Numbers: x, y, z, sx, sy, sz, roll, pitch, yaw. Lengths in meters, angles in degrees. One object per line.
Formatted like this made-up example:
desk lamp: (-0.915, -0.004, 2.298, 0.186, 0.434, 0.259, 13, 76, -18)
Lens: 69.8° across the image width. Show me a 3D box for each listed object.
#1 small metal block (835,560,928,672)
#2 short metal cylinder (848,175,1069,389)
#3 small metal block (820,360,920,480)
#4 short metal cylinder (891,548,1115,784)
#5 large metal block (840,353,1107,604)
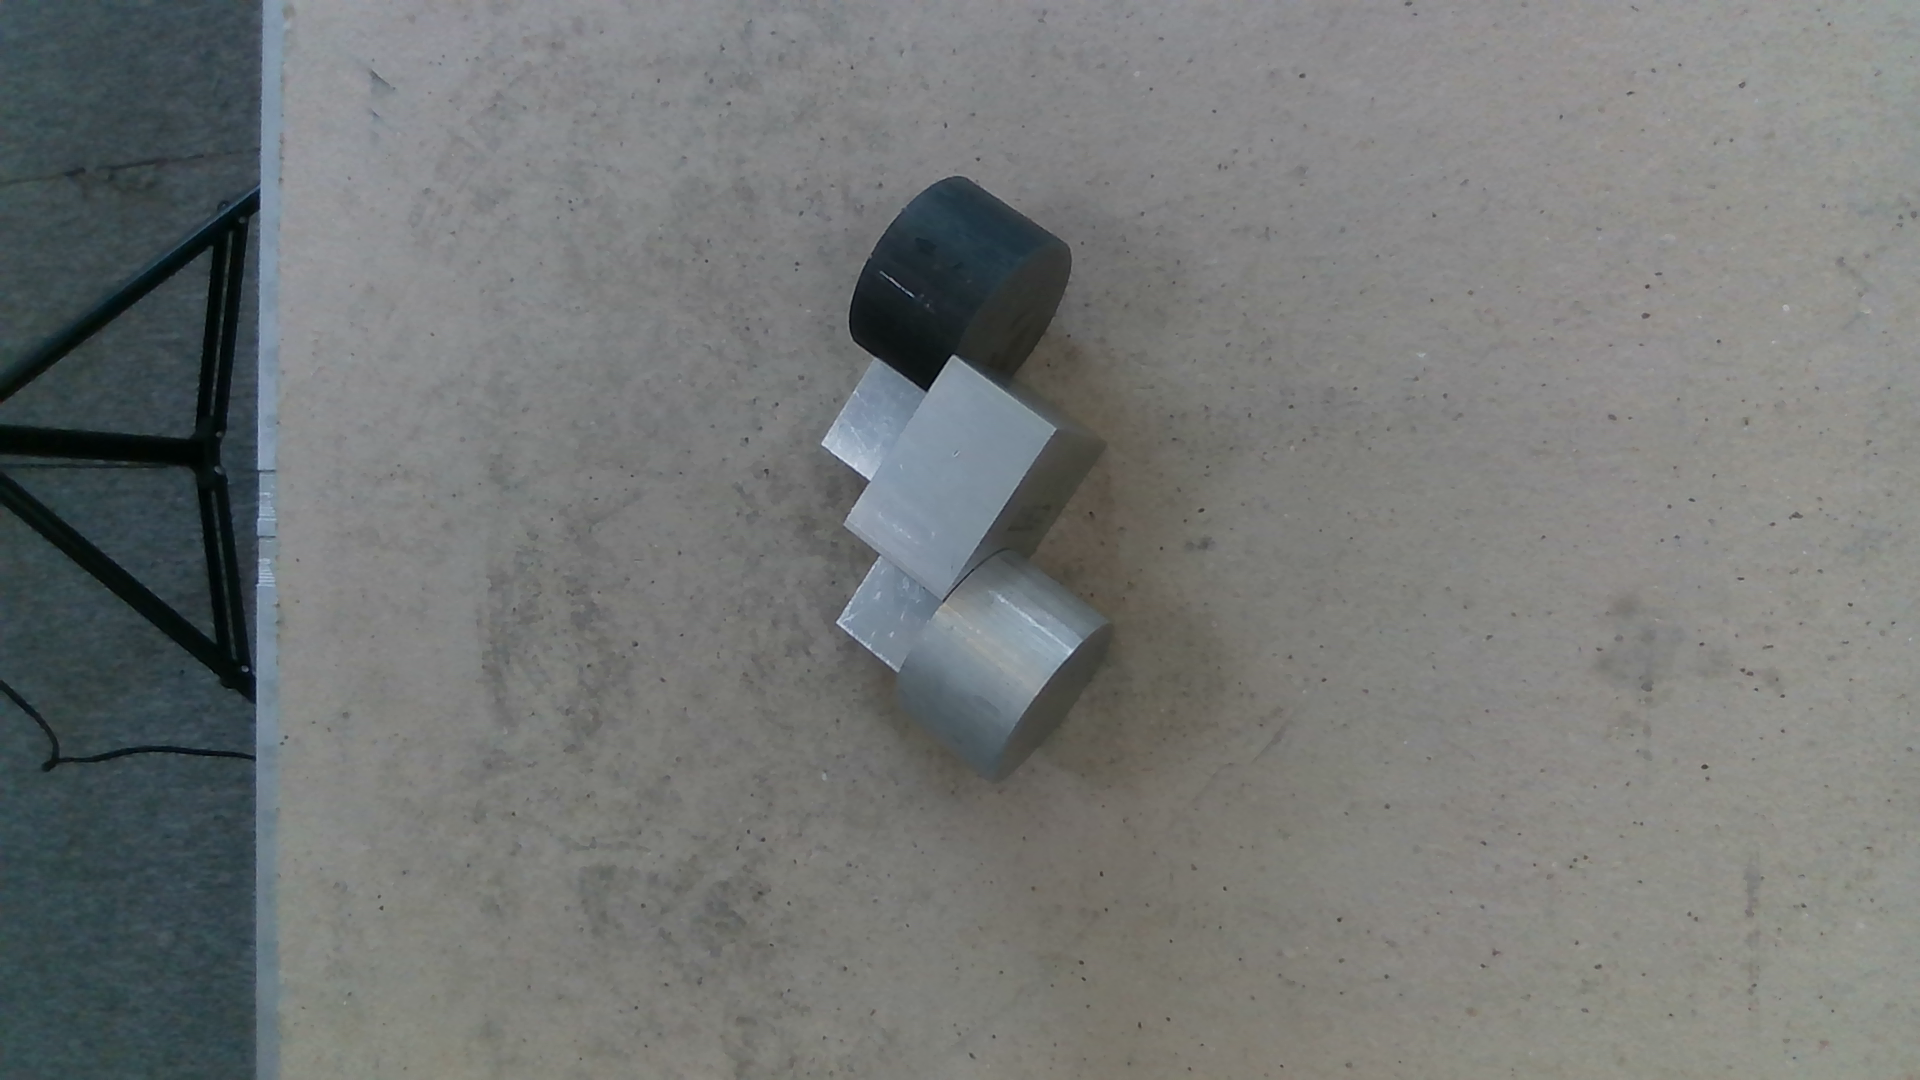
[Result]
small metal block: (-0.017, 0.030, 0.593, 0.050, 0.025, 0.050, 37, 102, 16)
short metal cylinder: (0.000, -0.098, 0.556, 0.050, 0.080, 0.080, 37, 102, 16)
small metal block: (-0.024, -0.048, 0.595, 0.050, 0.025, 0.050, 37, 102, 16)
short metal cylinder: (0.017, 0.050, 0.551, 0.050, 0.080, 0.080, 37, 102, 16)
large metal block: (0.008, -0.023, 0.554, 0.050, 0.080, 0.080, 37, 103, 16)
